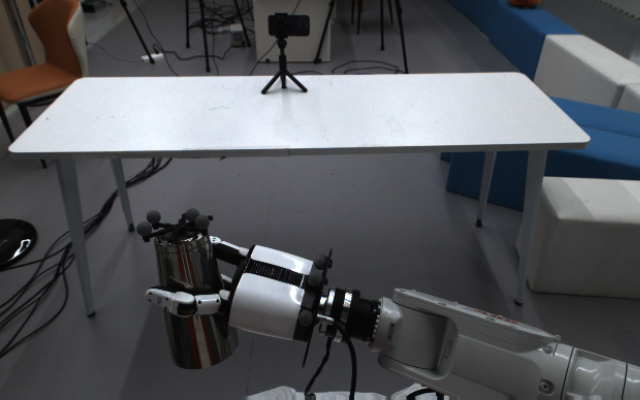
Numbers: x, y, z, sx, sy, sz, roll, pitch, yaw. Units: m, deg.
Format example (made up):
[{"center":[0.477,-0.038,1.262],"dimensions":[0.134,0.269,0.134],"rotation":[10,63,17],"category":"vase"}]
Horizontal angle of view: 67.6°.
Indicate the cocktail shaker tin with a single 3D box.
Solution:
[{"center":[-0.165,0.122,0.629],"dimensions":[0.093,0.170,0.093],"rotation":[-6,19,2],"category":"cocktail shaker tin"}]
